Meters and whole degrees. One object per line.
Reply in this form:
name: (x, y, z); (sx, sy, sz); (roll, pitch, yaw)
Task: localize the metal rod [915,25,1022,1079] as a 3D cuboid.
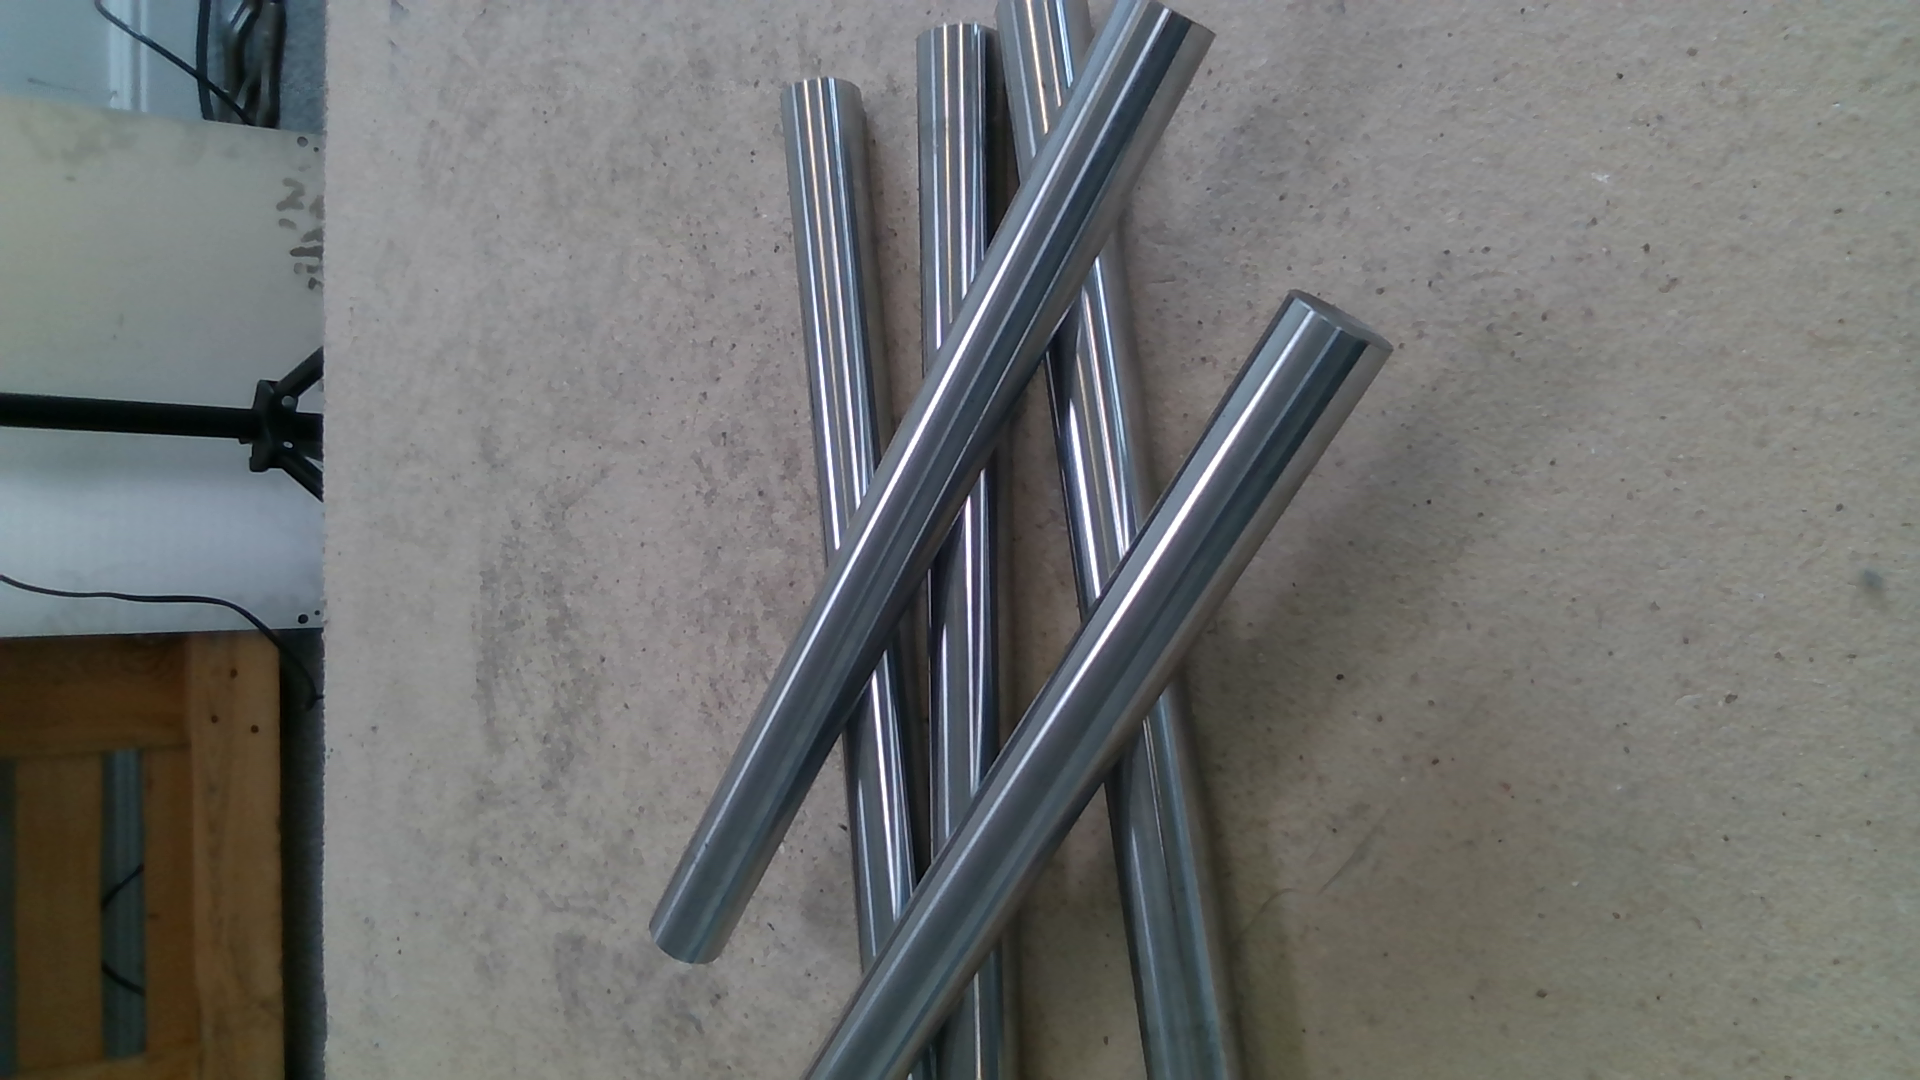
metal rod: (0.002, 0.009, 0.389); (0.025, 0.025, 0.300); (-1, 90, 40)

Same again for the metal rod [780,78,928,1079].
metal rod: (-0.029, 0.011, 0.415); (0.025, 0.025, 0.300); (-9, 84, 40)

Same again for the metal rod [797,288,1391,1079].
metal rod: (0.012, 0.074, 0.349); (0.025, 0.025, 0.301); (44, 117, 31)

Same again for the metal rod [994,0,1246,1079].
metal rod: (0.041, 0.004, 0.356); (0.025, 0.025, 0.300); (-12, 82, 40)

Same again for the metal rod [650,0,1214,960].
metal rod: (-0.019, 0.000, 0.374); (0.025, 0.025, 0.301); (43, 117, 31)
